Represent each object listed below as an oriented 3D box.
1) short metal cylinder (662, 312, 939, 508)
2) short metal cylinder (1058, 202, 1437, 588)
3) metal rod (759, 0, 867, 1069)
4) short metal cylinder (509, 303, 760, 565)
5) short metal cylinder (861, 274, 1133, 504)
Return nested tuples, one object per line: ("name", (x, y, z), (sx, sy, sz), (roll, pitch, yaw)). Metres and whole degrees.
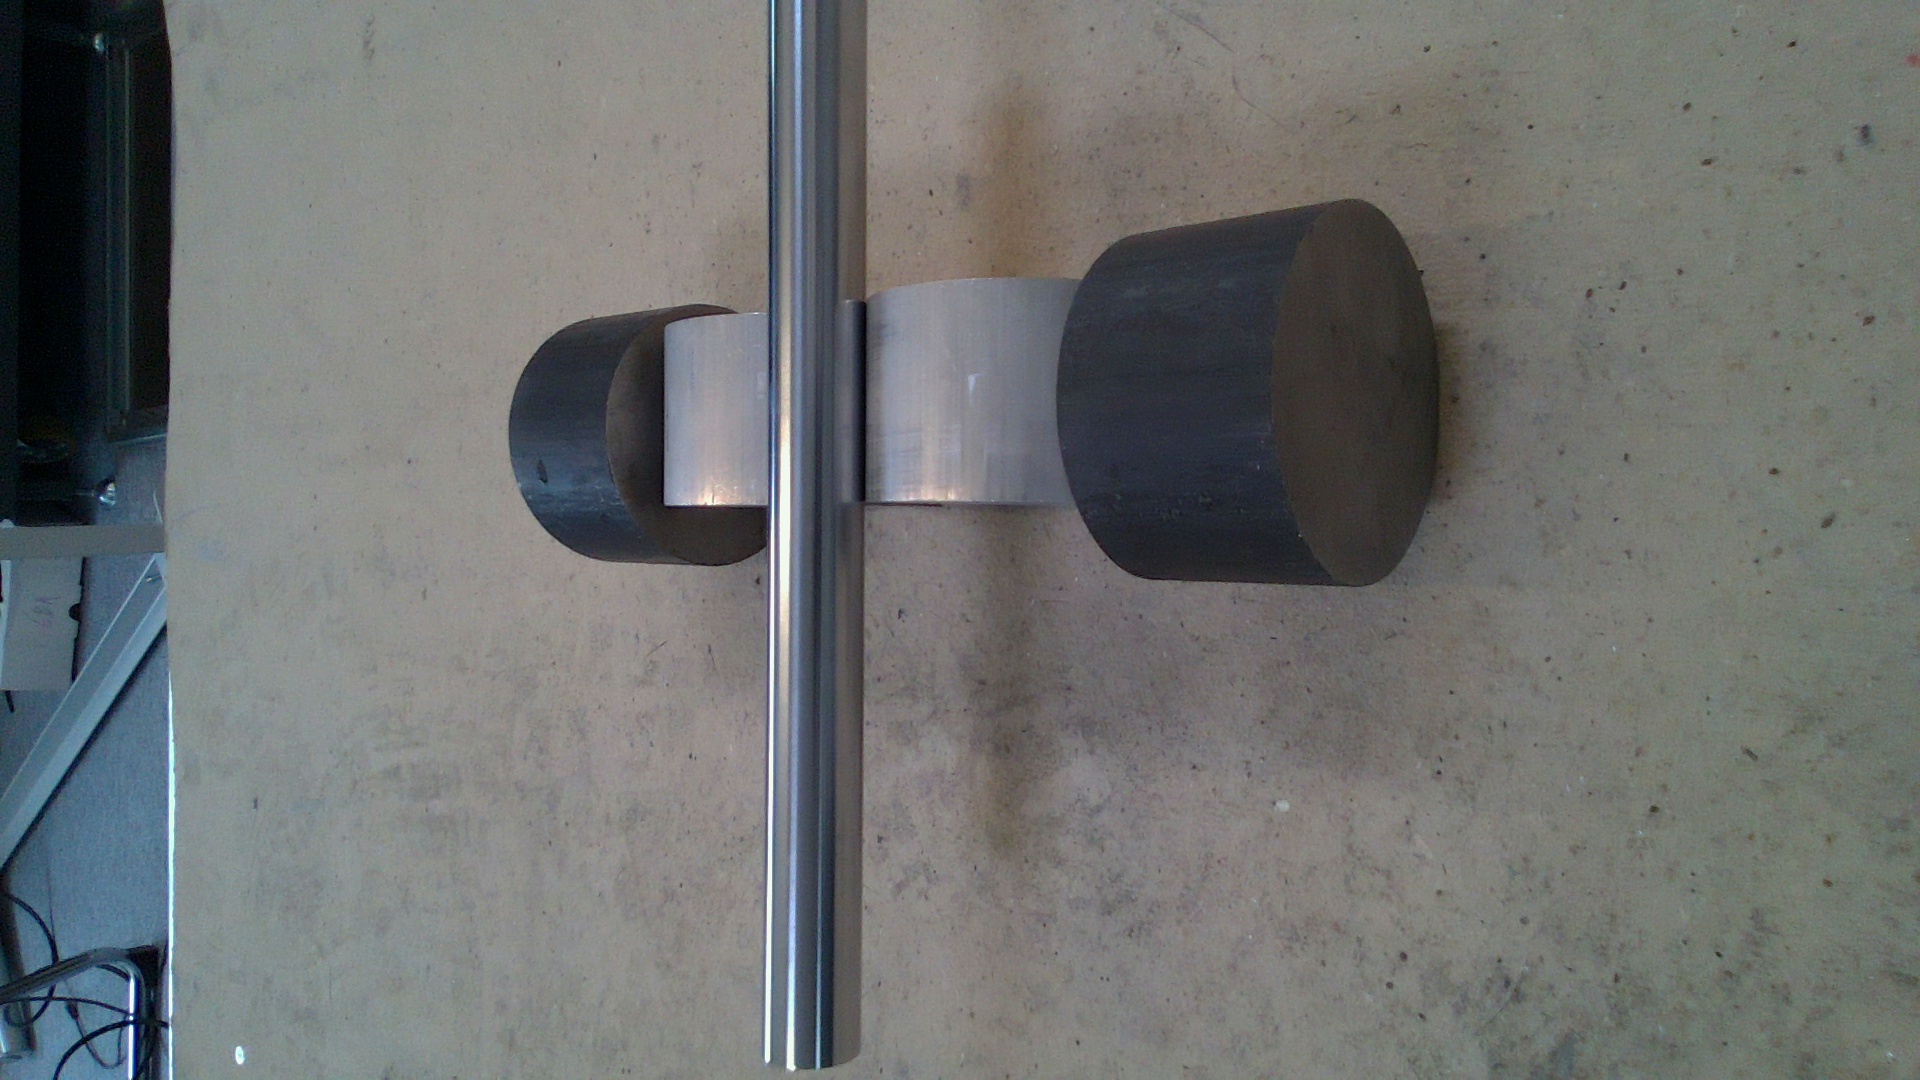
("short metal cylinder", (-0.045, -0.034, 0.397), (0.080, 0.080, 0.050), (1, 91, 40))
("short metal cylinder", (0.066, -0.030, 0.304), (0.050, 0.080, 0.080), (1, 91, 40))
("metal rod", (-0.037, -0.022, 0.345), (0.025, 0.025, 0.300), (1, 91, 40))
("short metal cylinder", (-0.094, -0.033, 0.438), (0.050, 0.080, 0.080), (1, 91, 40))
("short metal cylinder", (0.015, -0.034, 0.346), (0.080, 0.080, 0.050), (1, 91, 40))
